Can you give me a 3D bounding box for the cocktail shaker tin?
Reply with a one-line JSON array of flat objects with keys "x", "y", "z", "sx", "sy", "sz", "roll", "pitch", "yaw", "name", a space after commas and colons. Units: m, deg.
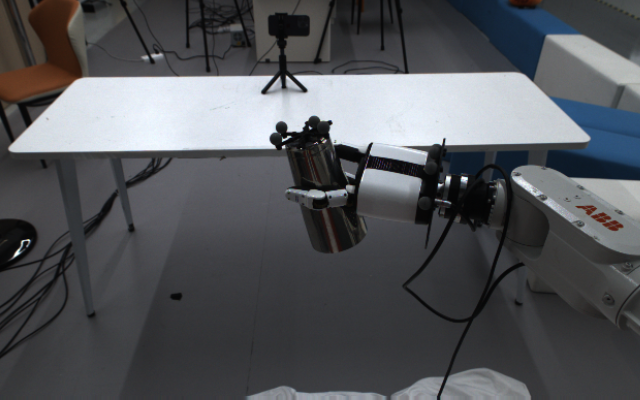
[{"x": 0.005, "y": -0.015, "z": 0.722, "sx": 0.093, "sy": 0.170, "sz": 0.093, "roll": -15, "pitch": 28, "yaw": 8, "name": "cocktail shaker tin"}]
